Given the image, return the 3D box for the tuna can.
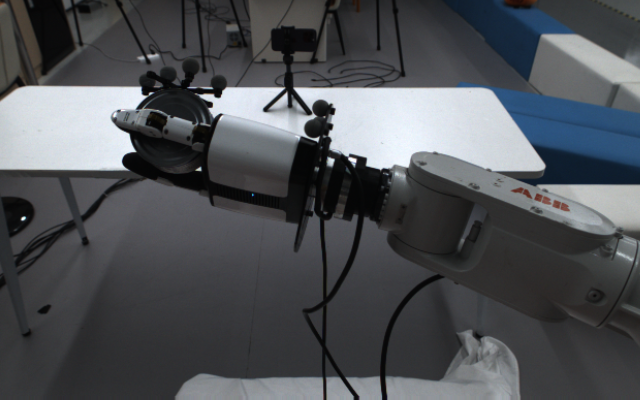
[{"bbox_3d":[-0.152,-0.072,0.514,0.085,0.034,0.085,-1,76,3],"label":"tuna can"}]
